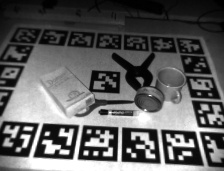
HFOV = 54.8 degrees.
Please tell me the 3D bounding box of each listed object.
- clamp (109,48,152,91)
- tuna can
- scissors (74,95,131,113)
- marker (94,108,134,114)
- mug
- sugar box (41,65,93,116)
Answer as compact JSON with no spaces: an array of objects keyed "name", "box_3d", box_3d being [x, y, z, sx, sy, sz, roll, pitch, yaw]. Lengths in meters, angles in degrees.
[{"name":"clamp","box_3d":[0.084,-0.056,0.773,0.166,0.037,0.201,-4,52,-8]},{"name":"tuna can","box_3d":[0.110,0.035,0.656,0.085,0.086,0.034,16,51,10]},{"name":"scissors","box_3d":[-0.038,0.041,0.679,0.204,0.016,0.087,-4,47,-10]},{"name":"marker","box_3d":[0.006,0.076,0.656,0.121,0.020,0.019,0,52,-4]},{"name":"mug","box_3d":[0.172,0.000,0.695,0.094,0.082,0.116,-19,51,-18]},{"name":"sugar box","box_3d":[-0.143,0.007,0.678,0.093,0.045,0.174,-27,51,-24]}]
